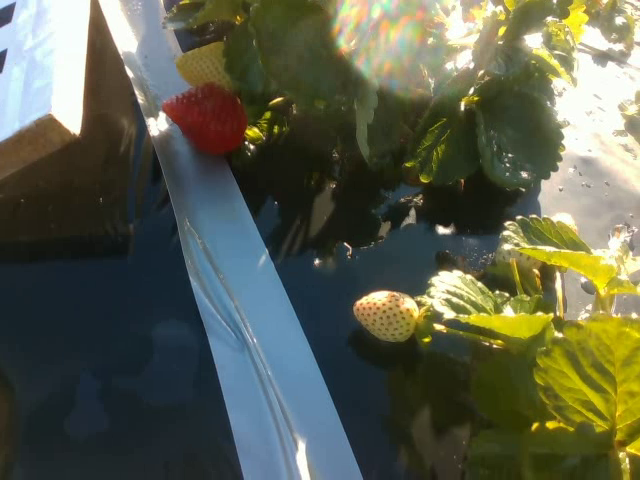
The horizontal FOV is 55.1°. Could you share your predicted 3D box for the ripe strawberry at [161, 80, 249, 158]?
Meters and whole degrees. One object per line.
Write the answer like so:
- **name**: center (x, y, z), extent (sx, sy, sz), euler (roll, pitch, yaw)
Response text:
- **ripe strawberry**: center (-0.067, -0.072, 0.342), extent (0.045, 0.049, 0.063), euler (-3, -1, 30)
